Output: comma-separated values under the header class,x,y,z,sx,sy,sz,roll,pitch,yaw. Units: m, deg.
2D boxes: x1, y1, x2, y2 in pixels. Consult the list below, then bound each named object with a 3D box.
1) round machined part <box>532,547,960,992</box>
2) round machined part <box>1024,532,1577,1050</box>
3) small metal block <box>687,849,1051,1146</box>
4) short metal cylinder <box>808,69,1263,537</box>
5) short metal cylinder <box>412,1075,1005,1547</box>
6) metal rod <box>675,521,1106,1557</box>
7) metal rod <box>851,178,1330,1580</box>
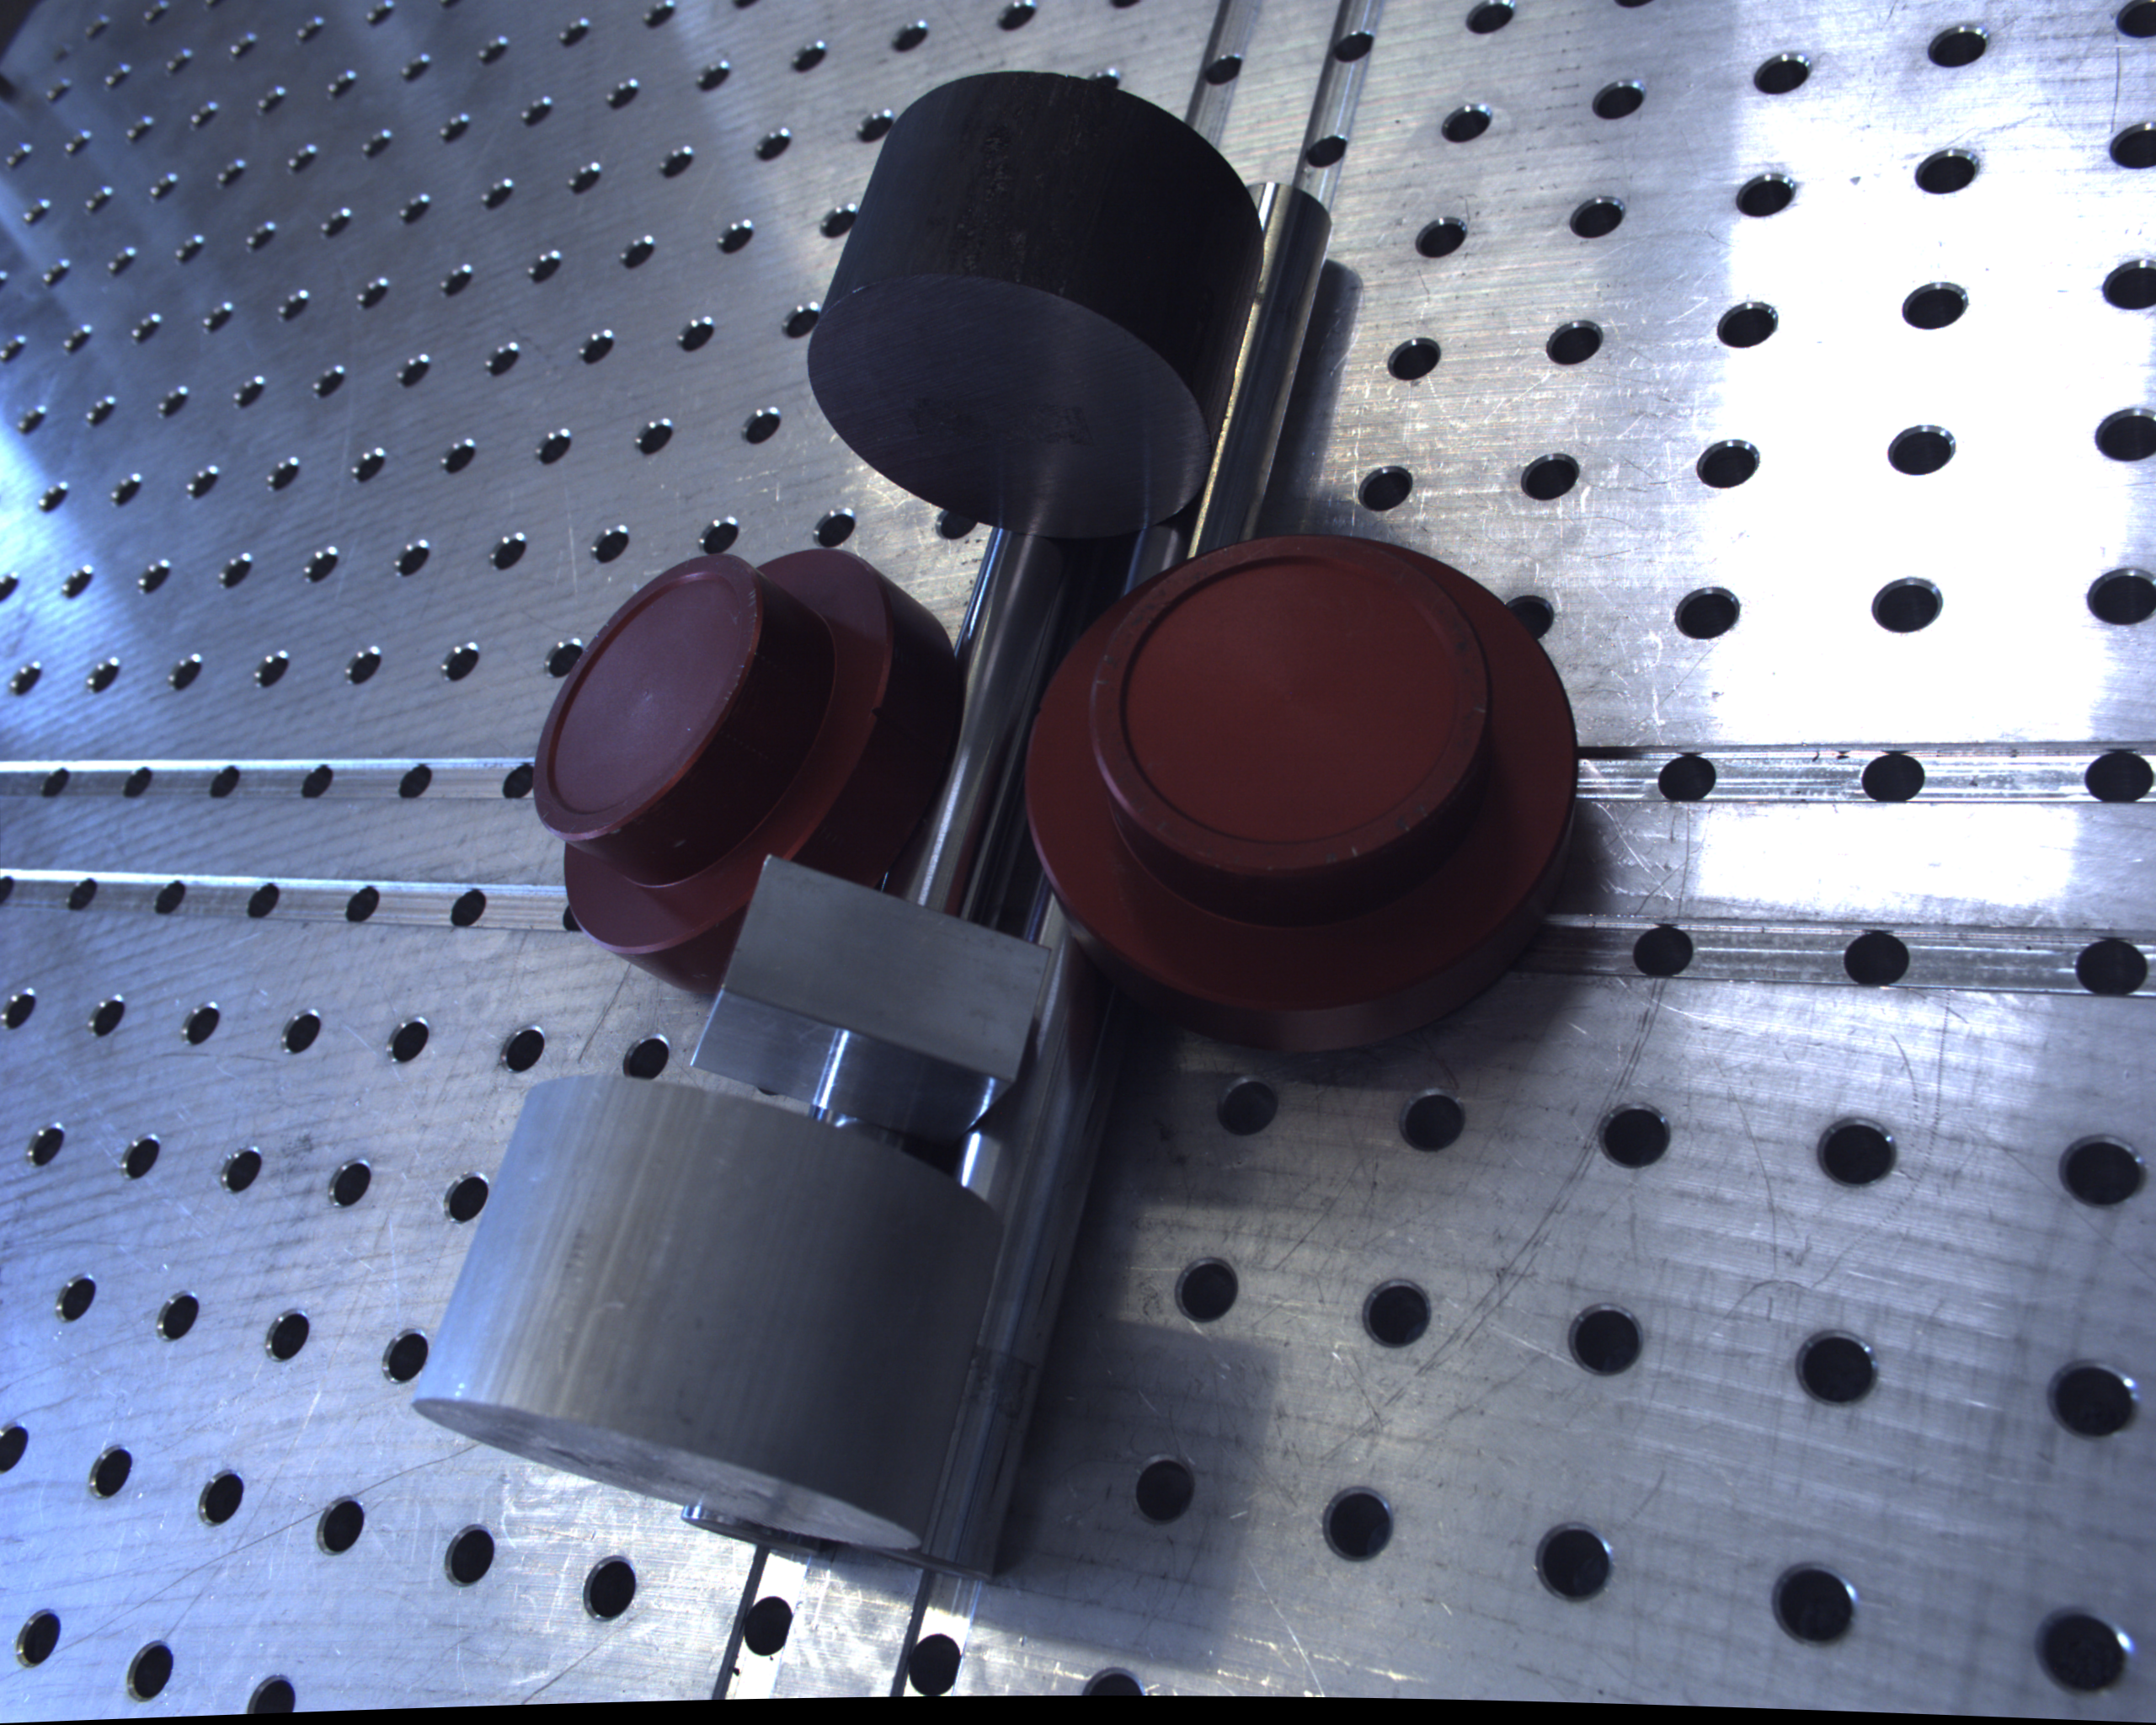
class,x,y,z,sx,sy,sz,roll,pitch,yaw
round machined part,-0.075,-0.025,0.437,0.098,0.042,0.098,-24,48,30
round machined part,0.039,-0.019,0.372,0.098,0.042,0.098,-4,62,9
small metal block,-0.038,0.025,0.367,0.050,0.050,0.025,20,66,-9
short metal cylinder,-0.008,-0.109,0.415,0.080,0.080,0.050,1,62,28
short metal cylinder,-0.057,0.072,0.331,0.080,0.080,0.050,1,62,28
metal rod,-0.023,-0.013,0.427,0.025,0.025,0.300,1,62,29
metal rod,0.009,-0.015,0.412,0.025,0.025,0.300,1,62,29
